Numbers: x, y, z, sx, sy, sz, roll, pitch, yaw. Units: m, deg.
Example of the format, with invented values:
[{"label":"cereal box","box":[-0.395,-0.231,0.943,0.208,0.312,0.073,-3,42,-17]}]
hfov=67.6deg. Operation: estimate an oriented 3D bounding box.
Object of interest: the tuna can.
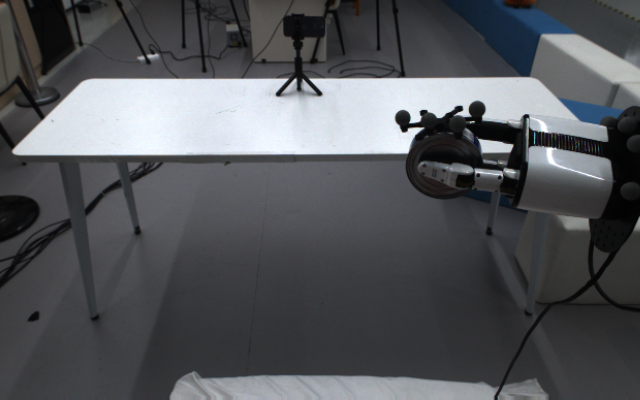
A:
[{"label":"tuna can","box":[0.146,-0.048,0.563,0.085,0.085,0.034,10,33,11]}]
